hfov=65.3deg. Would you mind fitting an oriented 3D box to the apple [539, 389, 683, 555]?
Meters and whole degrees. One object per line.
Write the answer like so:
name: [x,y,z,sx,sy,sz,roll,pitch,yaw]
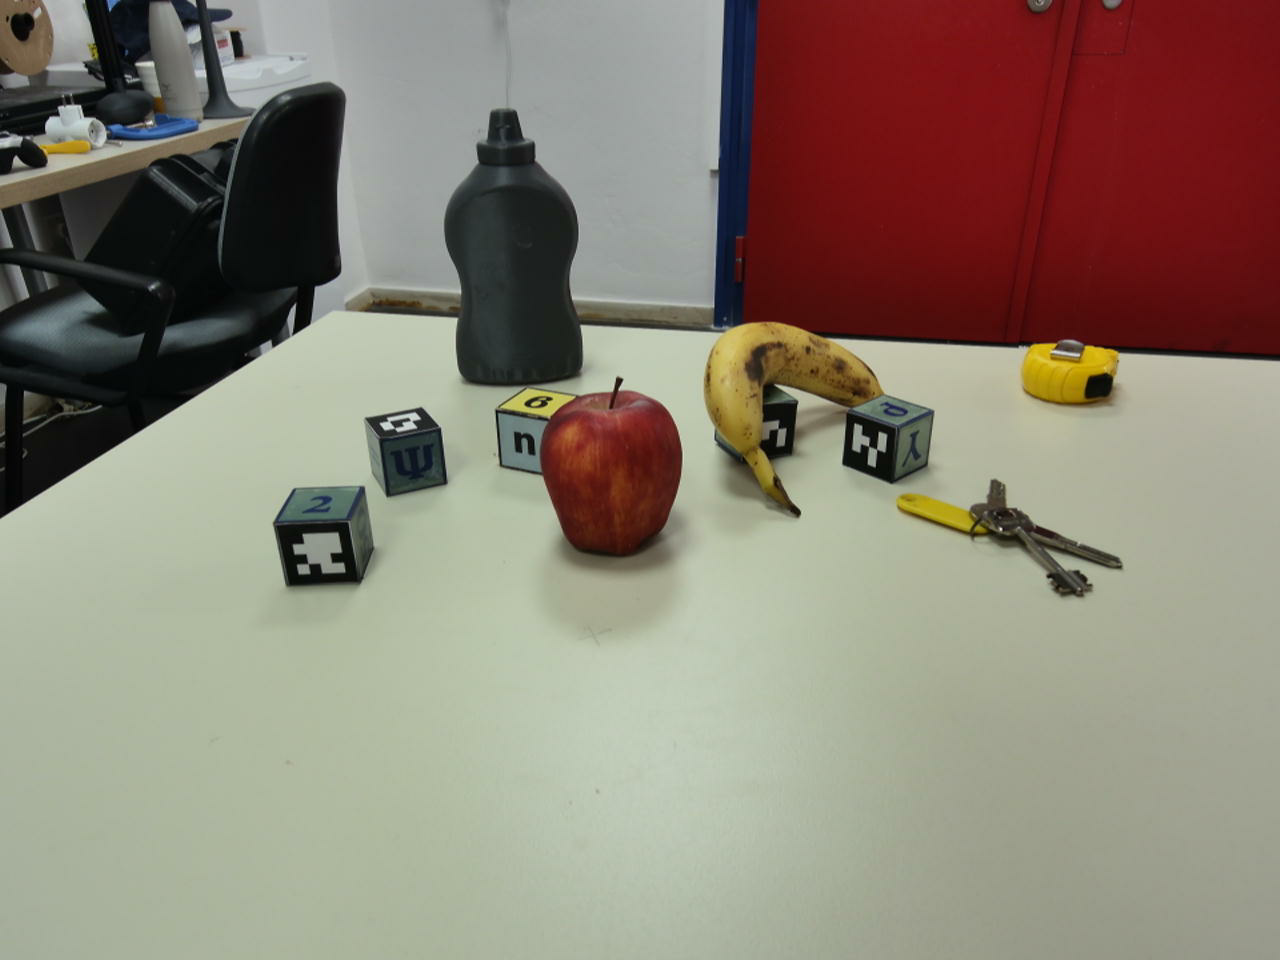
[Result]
apple: [-0.016,-0.011,0.534,0.083,0.090,0.083,-1,25,1]
